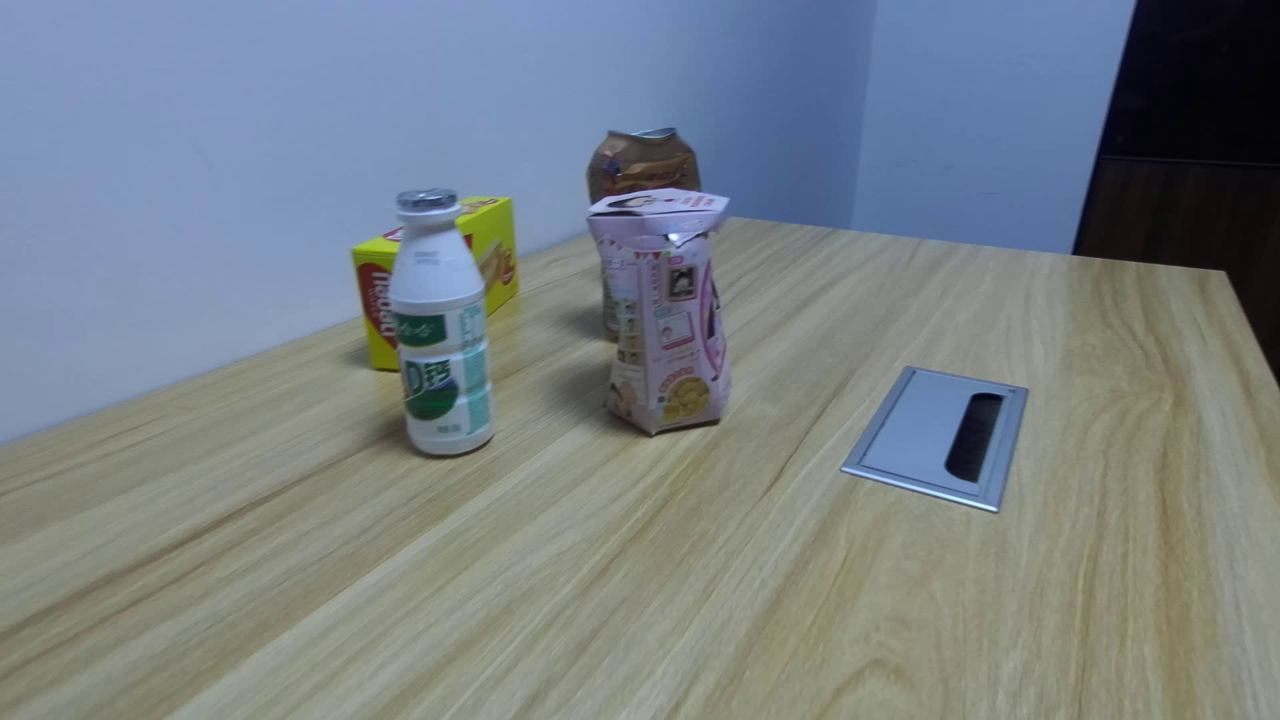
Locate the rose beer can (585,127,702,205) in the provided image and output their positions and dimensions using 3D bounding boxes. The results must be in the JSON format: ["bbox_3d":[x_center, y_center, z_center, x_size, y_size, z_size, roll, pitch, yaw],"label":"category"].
[{"bbox_3d":[0.005,-0.093,0.540,0.068,0.161,0.074,0,5,33],"label":"rose beer can"}]

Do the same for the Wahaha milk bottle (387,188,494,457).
[{"bbox_3d":[-0.113,-0.020,0.402,0.053,0.147,0.053,0,24,0],"label":"Wahaha milk bottle"}]

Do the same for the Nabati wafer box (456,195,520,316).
[{"bbox_3d":[-0.162,-0.077,0.611,0.042,0.093,0.203,5,25,13],"label":"Nabati wafer box"}]

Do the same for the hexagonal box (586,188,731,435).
[{"bbox_3d":[0.013,-0.032,0.441,0.091,0.134,0.089,-18,26,-33],"label":"hexagonal box"}]
